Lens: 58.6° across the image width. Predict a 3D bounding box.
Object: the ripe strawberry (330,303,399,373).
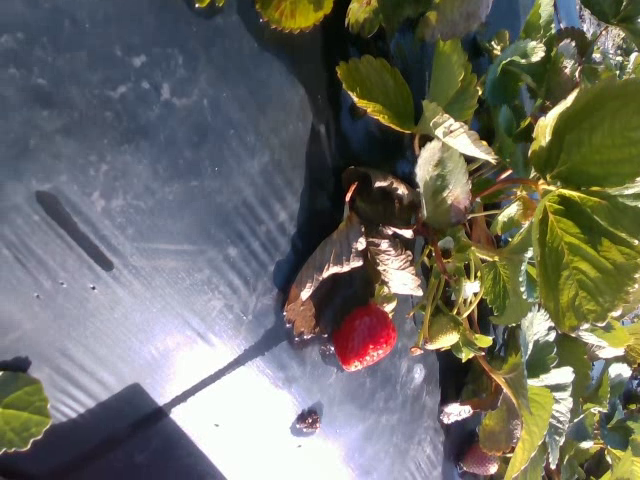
[{"bbox_3d":[0.016,0.054,0.273,0.037,0.047,0.054,15,34,26],"label":"ripe strawberry"}]
